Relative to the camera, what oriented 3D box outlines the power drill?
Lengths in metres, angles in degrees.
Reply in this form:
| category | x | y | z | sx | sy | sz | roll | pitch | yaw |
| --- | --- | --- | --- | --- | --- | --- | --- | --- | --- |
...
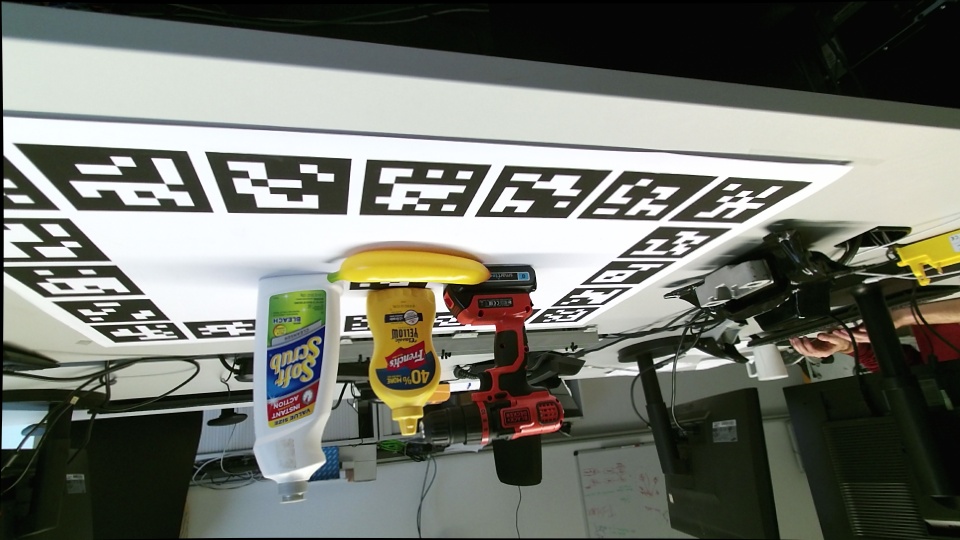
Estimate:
| category | x | y | z | sx | sy | sz | roll | pitch | yaw |
| --- | --- | --- | --- | --- | --- | --- | --- | --- | --- |
| power drill | 0.018 | 0.117 | 0.689 | 0.185 | 0.186 | 0.057 | 1 | 164 | -12 |

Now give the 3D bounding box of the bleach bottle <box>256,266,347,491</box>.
| category | x | y | z | sx | sy | sz | roll | pitch | yaw |
| --- | --- | --- | --- | --- | --- | --- | --- | --- | --- |
| bleach bottle | -0.206 | 0.122 | 0.626 | 0.103 | 0.249 | 0.068 | -4 | 157 | -8 |

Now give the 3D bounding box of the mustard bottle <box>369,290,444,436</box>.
| category | x | y | z | sx | sy | sz | roll | pitch | yaw |
| --- | --- | --- | --- | --- | --- | --- | --- | --- | --- |
| mustard bottle | -0.098 | 0.124 | 0.721 | 0.096 | 0.190 | 0.058 | 1 | 157 | -16 |

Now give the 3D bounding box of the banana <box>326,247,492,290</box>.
| category | x | y | z | sx | sy | sz | roll | pitch | yaw |
| --- | --- | --- | --- | --- | --- | --- | --- | --- | --- |
| banana | -0.074 | 0.001 | 0.621 | 0.198 | 0.038 | 0.074 | -1 | 153 | -20 |
